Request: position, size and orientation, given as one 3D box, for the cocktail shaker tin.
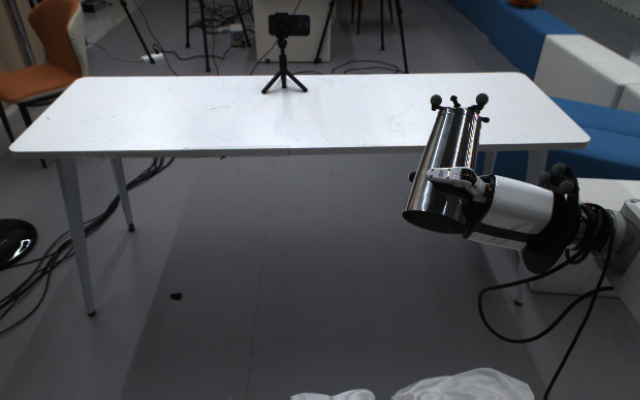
[{"bbox_3d":[0.185,-0.046,0.706,0.093,0.093,0.170,13,73,15],"label":"cocktail shaker tin"}]
